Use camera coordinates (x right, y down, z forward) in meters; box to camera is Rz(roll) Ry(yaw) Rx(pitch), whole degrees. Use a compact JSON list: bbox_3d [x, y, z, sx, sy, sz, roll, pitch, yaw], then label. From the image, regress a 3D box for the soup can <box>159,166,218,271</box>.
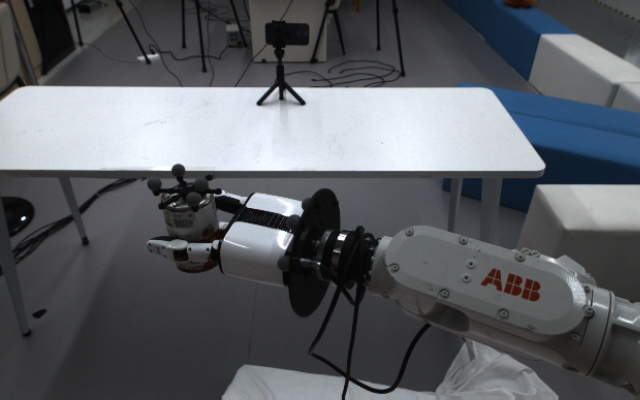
[{"bbox_3d":[-0.166,0.038,0.639,0.067,0.101,0.067,-1,32,1],"label":"soup can"}]
